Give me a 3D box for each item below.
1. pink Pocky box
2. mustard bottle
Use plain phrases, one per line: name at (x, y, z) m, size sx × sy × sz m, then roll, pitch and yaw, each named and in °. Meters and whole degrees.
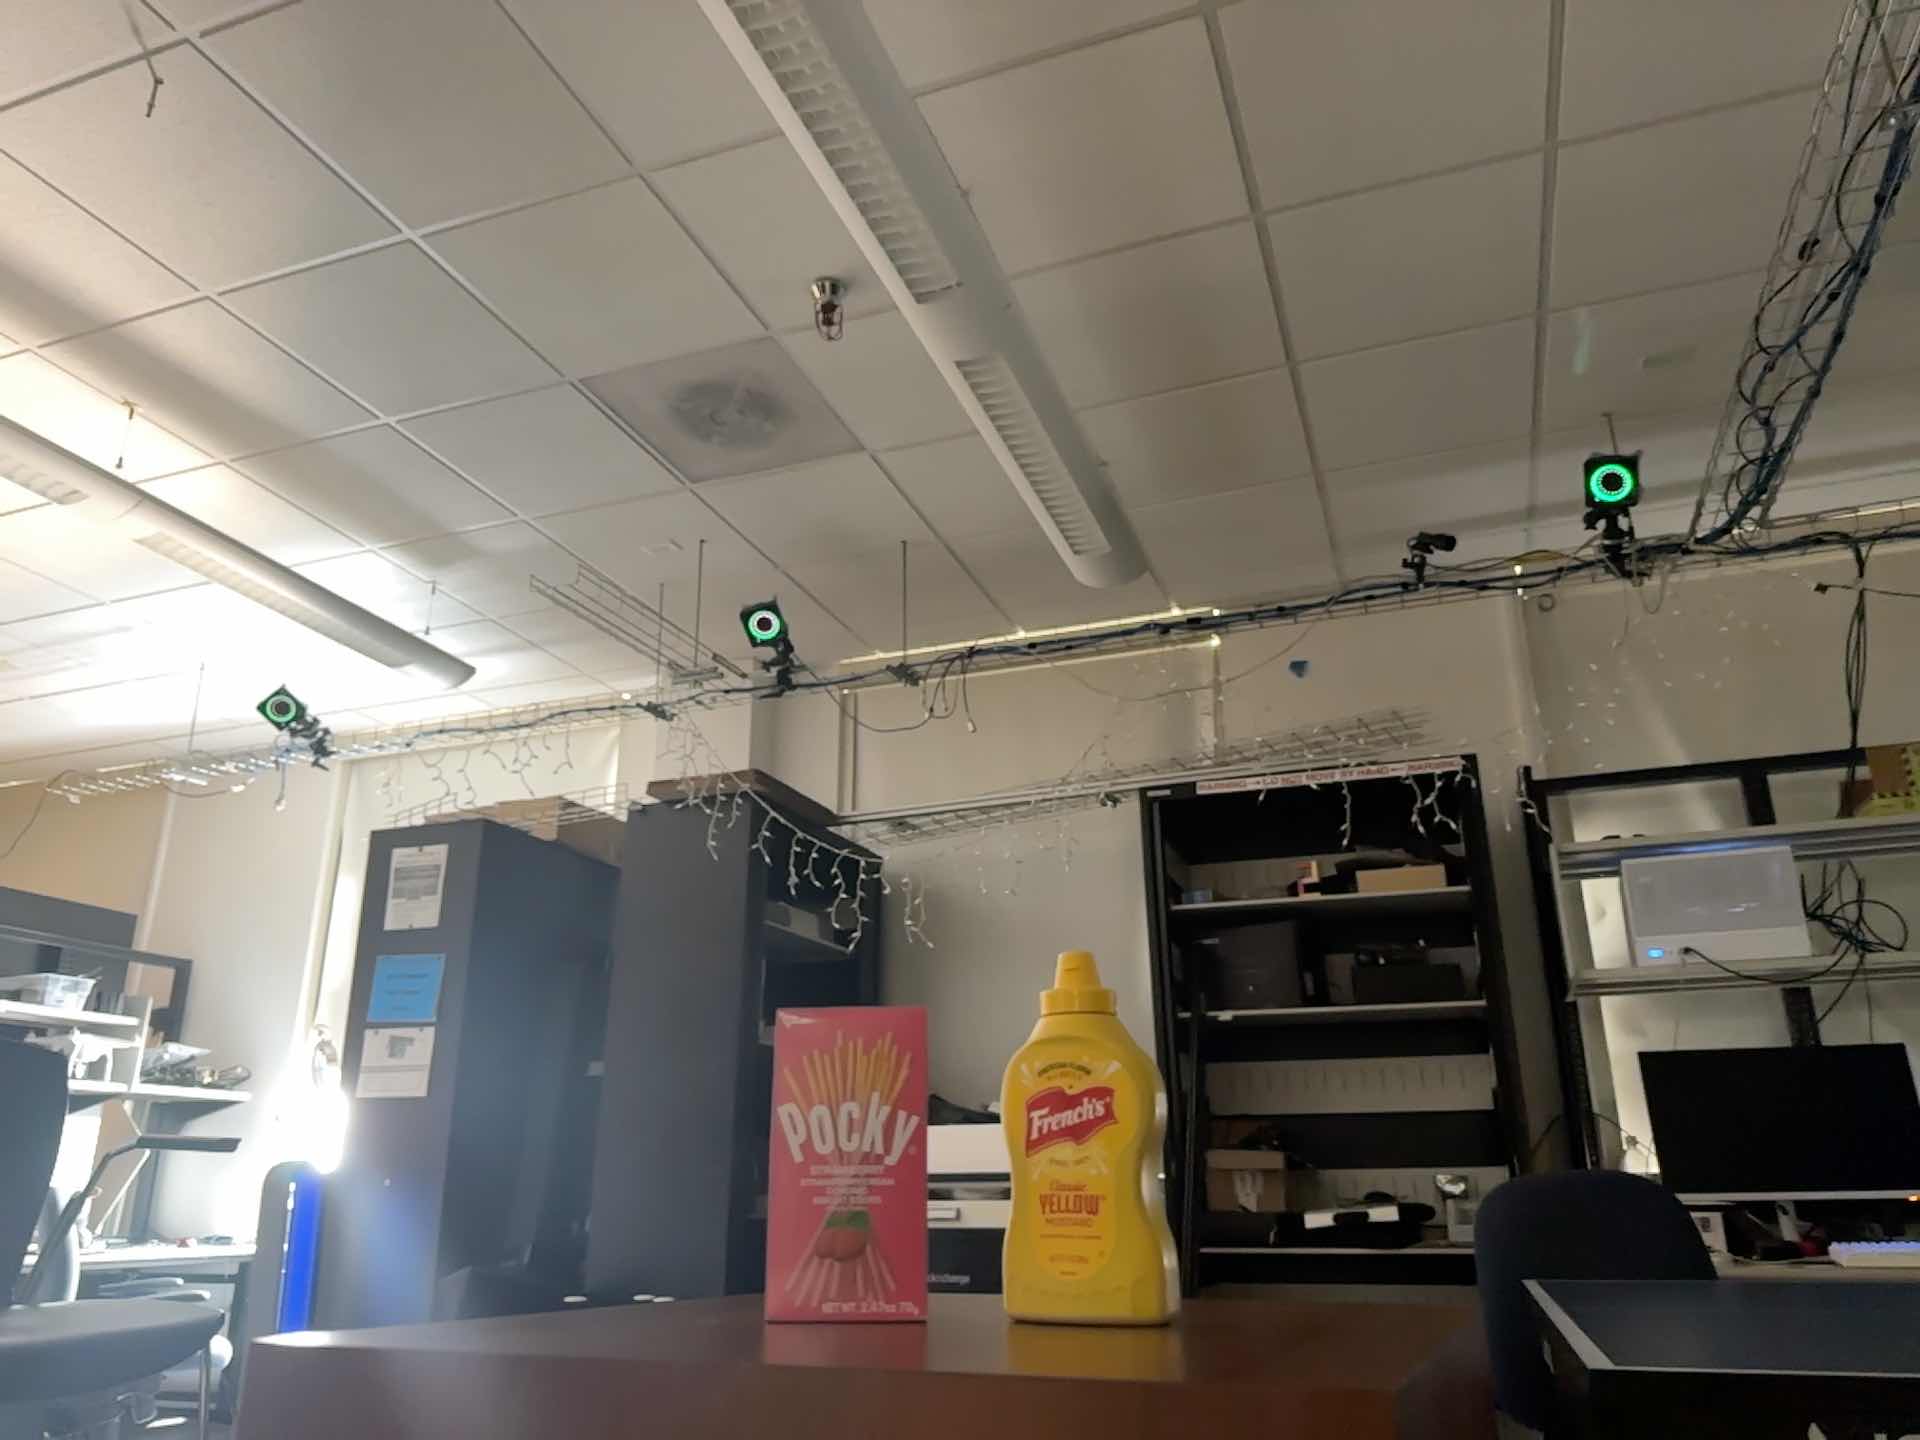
pink Pocky box at (-0.055, 0.226, 0.699) m, size 0.084 × 0.154 × 0.029 m, roll -1°, pitch -17°, yaw 6°
mustard bottle at (0.063, 0.209, 0.693) m, size 0.092 × 0.184 × 0.054 m, roll -9°, pitch -17°, yaw 25°
